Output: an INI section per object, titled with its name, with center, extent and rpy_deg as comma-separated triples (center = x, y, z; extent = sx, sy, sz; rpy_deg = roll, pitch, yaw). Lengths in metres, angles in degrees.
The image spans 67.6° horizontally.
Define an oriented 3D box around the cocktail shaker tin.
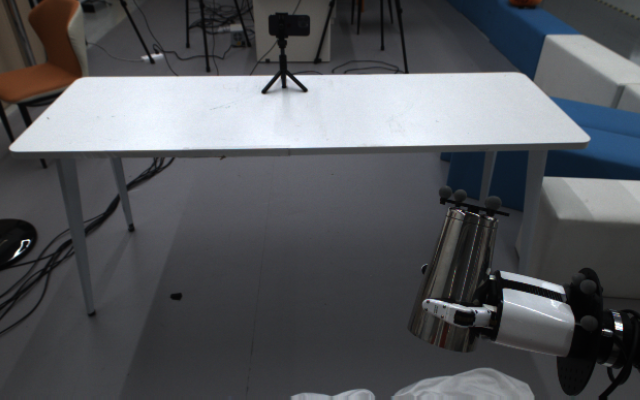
[cocktail shaker tin]
center = 0.182, 0.099, 0.639
extent = 0.093, 0.170, 0.093
rpy_deg = 13, 5, -1
